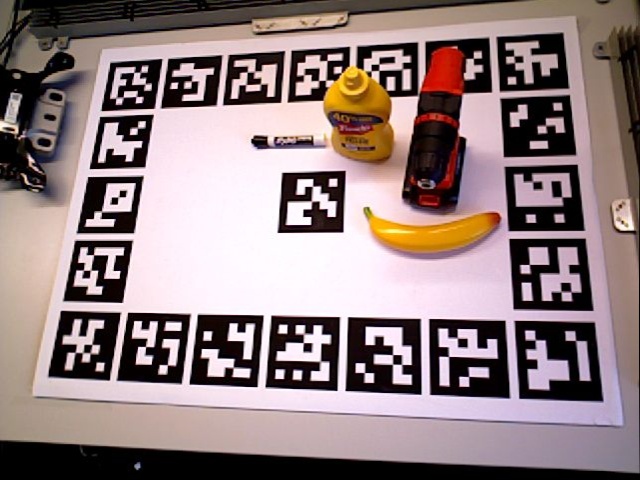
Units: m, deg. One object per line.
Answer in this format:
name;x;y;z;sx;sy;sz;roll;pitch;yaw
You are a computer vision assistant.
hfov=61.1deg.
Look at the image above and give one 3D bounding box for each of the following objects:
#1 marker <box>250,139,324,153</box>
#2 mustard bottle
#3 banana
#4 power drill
marker;-0.055;-0.152;0.875;0.121;0.020;0.019;3;74;11
mustard bottle;0.057;-0.167;0.769;0.096;0.193;0.058;12;74;11
banana;0.152;0.005;0.786;0.198;0.039;0.074;9;77;14
power drill;0.155;-0.109;0.717;0.057;0.189;0.183;15;73;11
